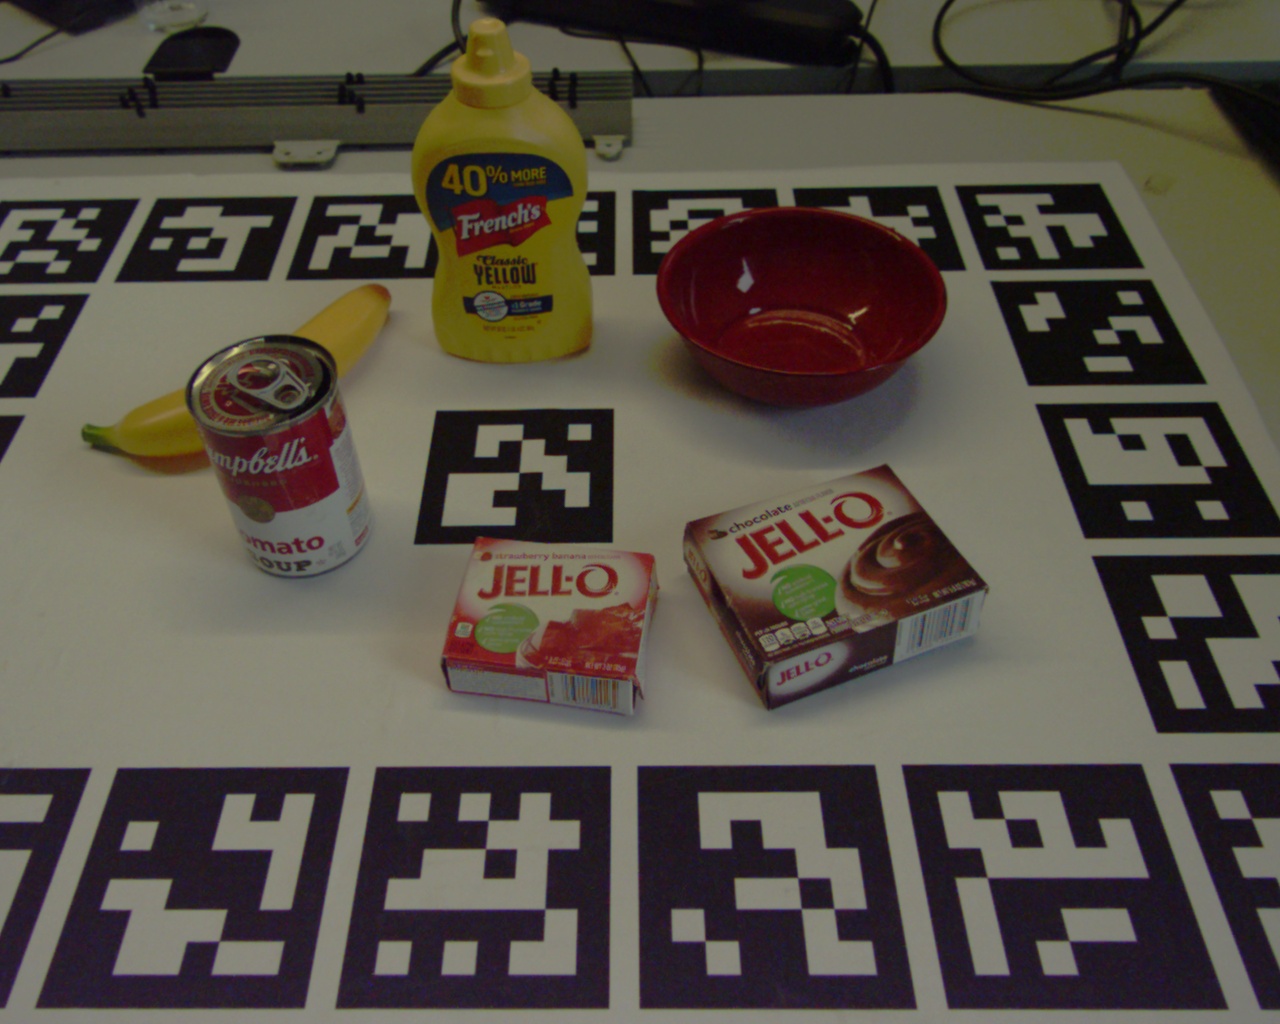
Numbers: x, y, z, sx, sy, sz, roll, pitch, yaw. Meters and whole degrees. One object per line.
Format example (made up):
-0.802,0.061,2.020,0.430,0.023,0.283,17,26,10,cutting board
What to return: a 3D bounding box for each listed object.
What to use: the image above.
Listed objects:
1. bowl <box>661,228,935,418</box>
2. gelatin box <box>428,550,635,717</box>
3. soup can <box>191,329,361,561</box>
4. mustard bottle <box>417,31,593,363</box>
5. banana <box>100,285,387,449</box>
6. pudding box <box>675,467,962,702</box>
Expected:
0.093,-0.107,0.695,0.162,0.055,0.162,-2,46,1,bowl
-0.051,0.058,0.557,0.090,0.030,0.073,5,50,7,gelatin box
-0.183,-0.033,0.584,0.068,0.102,0.068,1,45,-2,soup can
-0.077,-0.176,0.652,0.096,0.191,0.058,1,44,1,mustard bottle
-0.224,-0.087,0.692,0.075,0.038,0.196,27,52,36,banana
0.085,0.034,0.569,0.113,0.038,0.091,-18,54,-15,pudding box
